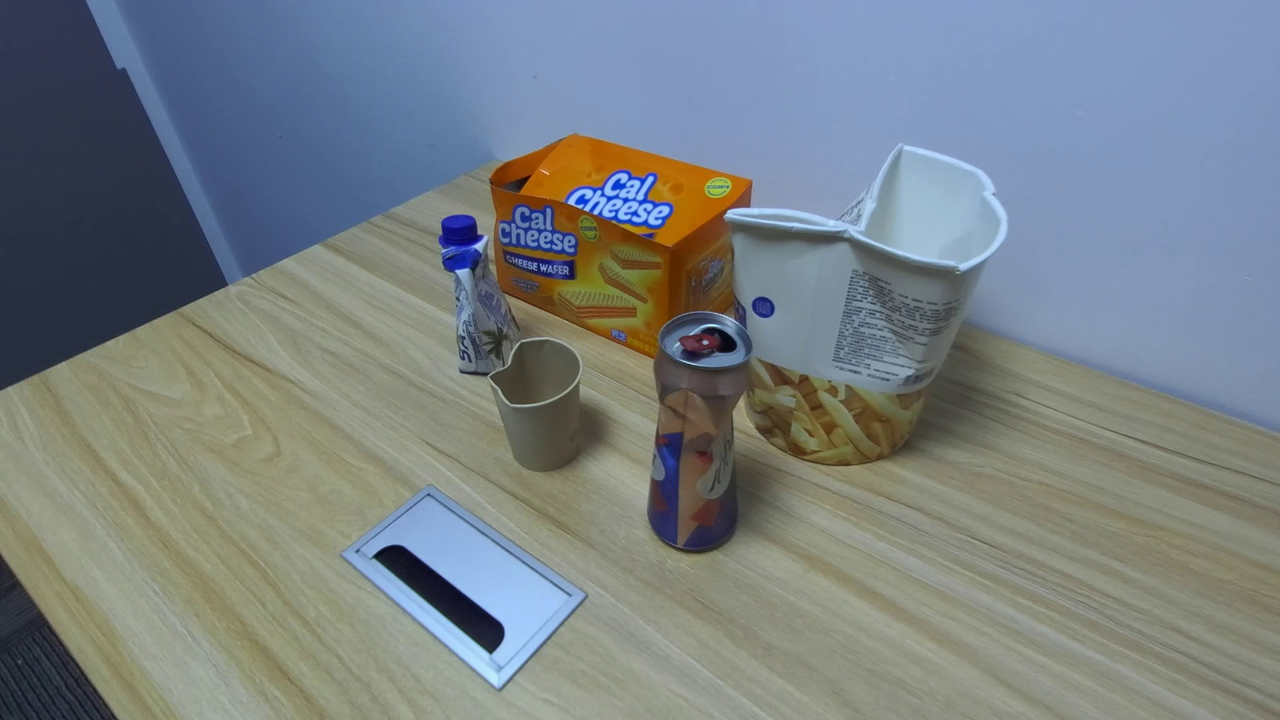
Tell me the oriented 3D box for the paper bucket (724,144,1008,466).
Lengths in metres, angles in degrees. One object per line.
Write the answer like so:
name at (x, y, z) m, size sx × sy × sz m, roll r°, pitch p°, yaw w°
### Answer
paper bucket at (0.164, -0.043, 0.547) m, size 0.168 × 0.202 × 0.163 m, roll 19°, pitch 42°, yaw 20°

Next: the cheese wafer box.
cheese wafer box at (-0.024, -0.118, 0.697) m, size 0.229 × 0.132 × 0.152 m, roll 25°, pitch 48°, yaw 27°

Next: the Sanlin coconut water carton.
Sanlin coconut water carton at (-0.148, -0.050, 0.613) m, size 0.056 × 0.145 × 0.068 m, roll -2°, pitch 45°, yaw 12°

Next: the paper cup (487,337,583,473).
paper cup at (-0.076, 0.038, 0.547) m, size 0.069 × 0.081 × 0.073 m, roll -24°, pitch 43°, yaw -25°

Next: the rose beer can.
rose beer can at (0.039, 0.052, 0.459) m, size 0.065 × 0.167 × 0.076 m, roll 19°, pitch 40°, yaw 21°
